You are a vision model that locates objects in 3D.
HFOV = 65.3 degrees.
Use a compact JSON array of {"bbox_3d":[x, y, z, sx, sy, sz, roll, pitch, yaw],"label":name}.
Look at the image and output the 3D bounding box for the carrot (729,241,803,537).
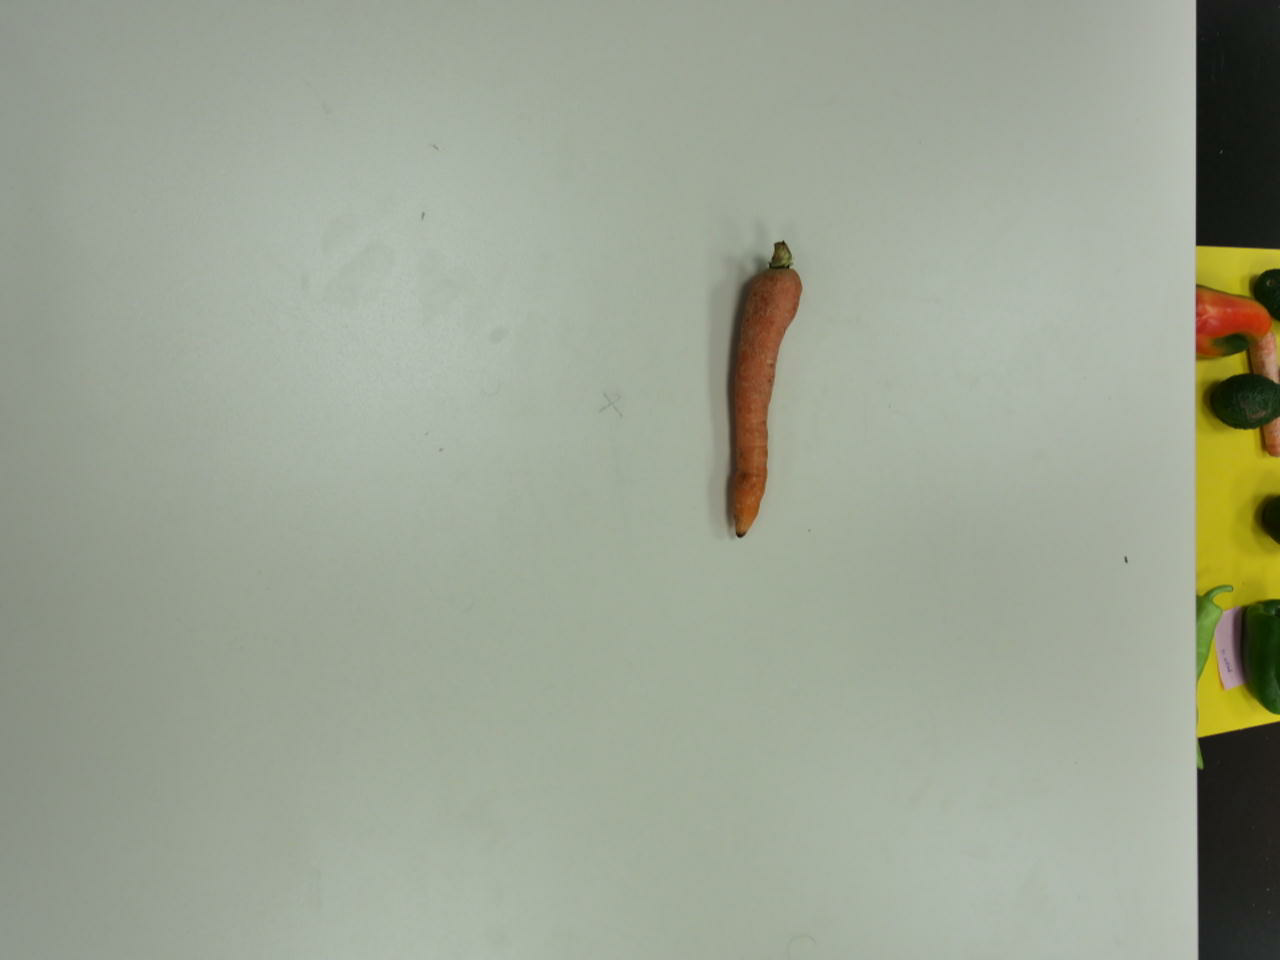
[{"bbox_3d":[0.070,-0.053,0.584,0.030,0.032,0.173,9,87,-22],"label":"carrot"}]
